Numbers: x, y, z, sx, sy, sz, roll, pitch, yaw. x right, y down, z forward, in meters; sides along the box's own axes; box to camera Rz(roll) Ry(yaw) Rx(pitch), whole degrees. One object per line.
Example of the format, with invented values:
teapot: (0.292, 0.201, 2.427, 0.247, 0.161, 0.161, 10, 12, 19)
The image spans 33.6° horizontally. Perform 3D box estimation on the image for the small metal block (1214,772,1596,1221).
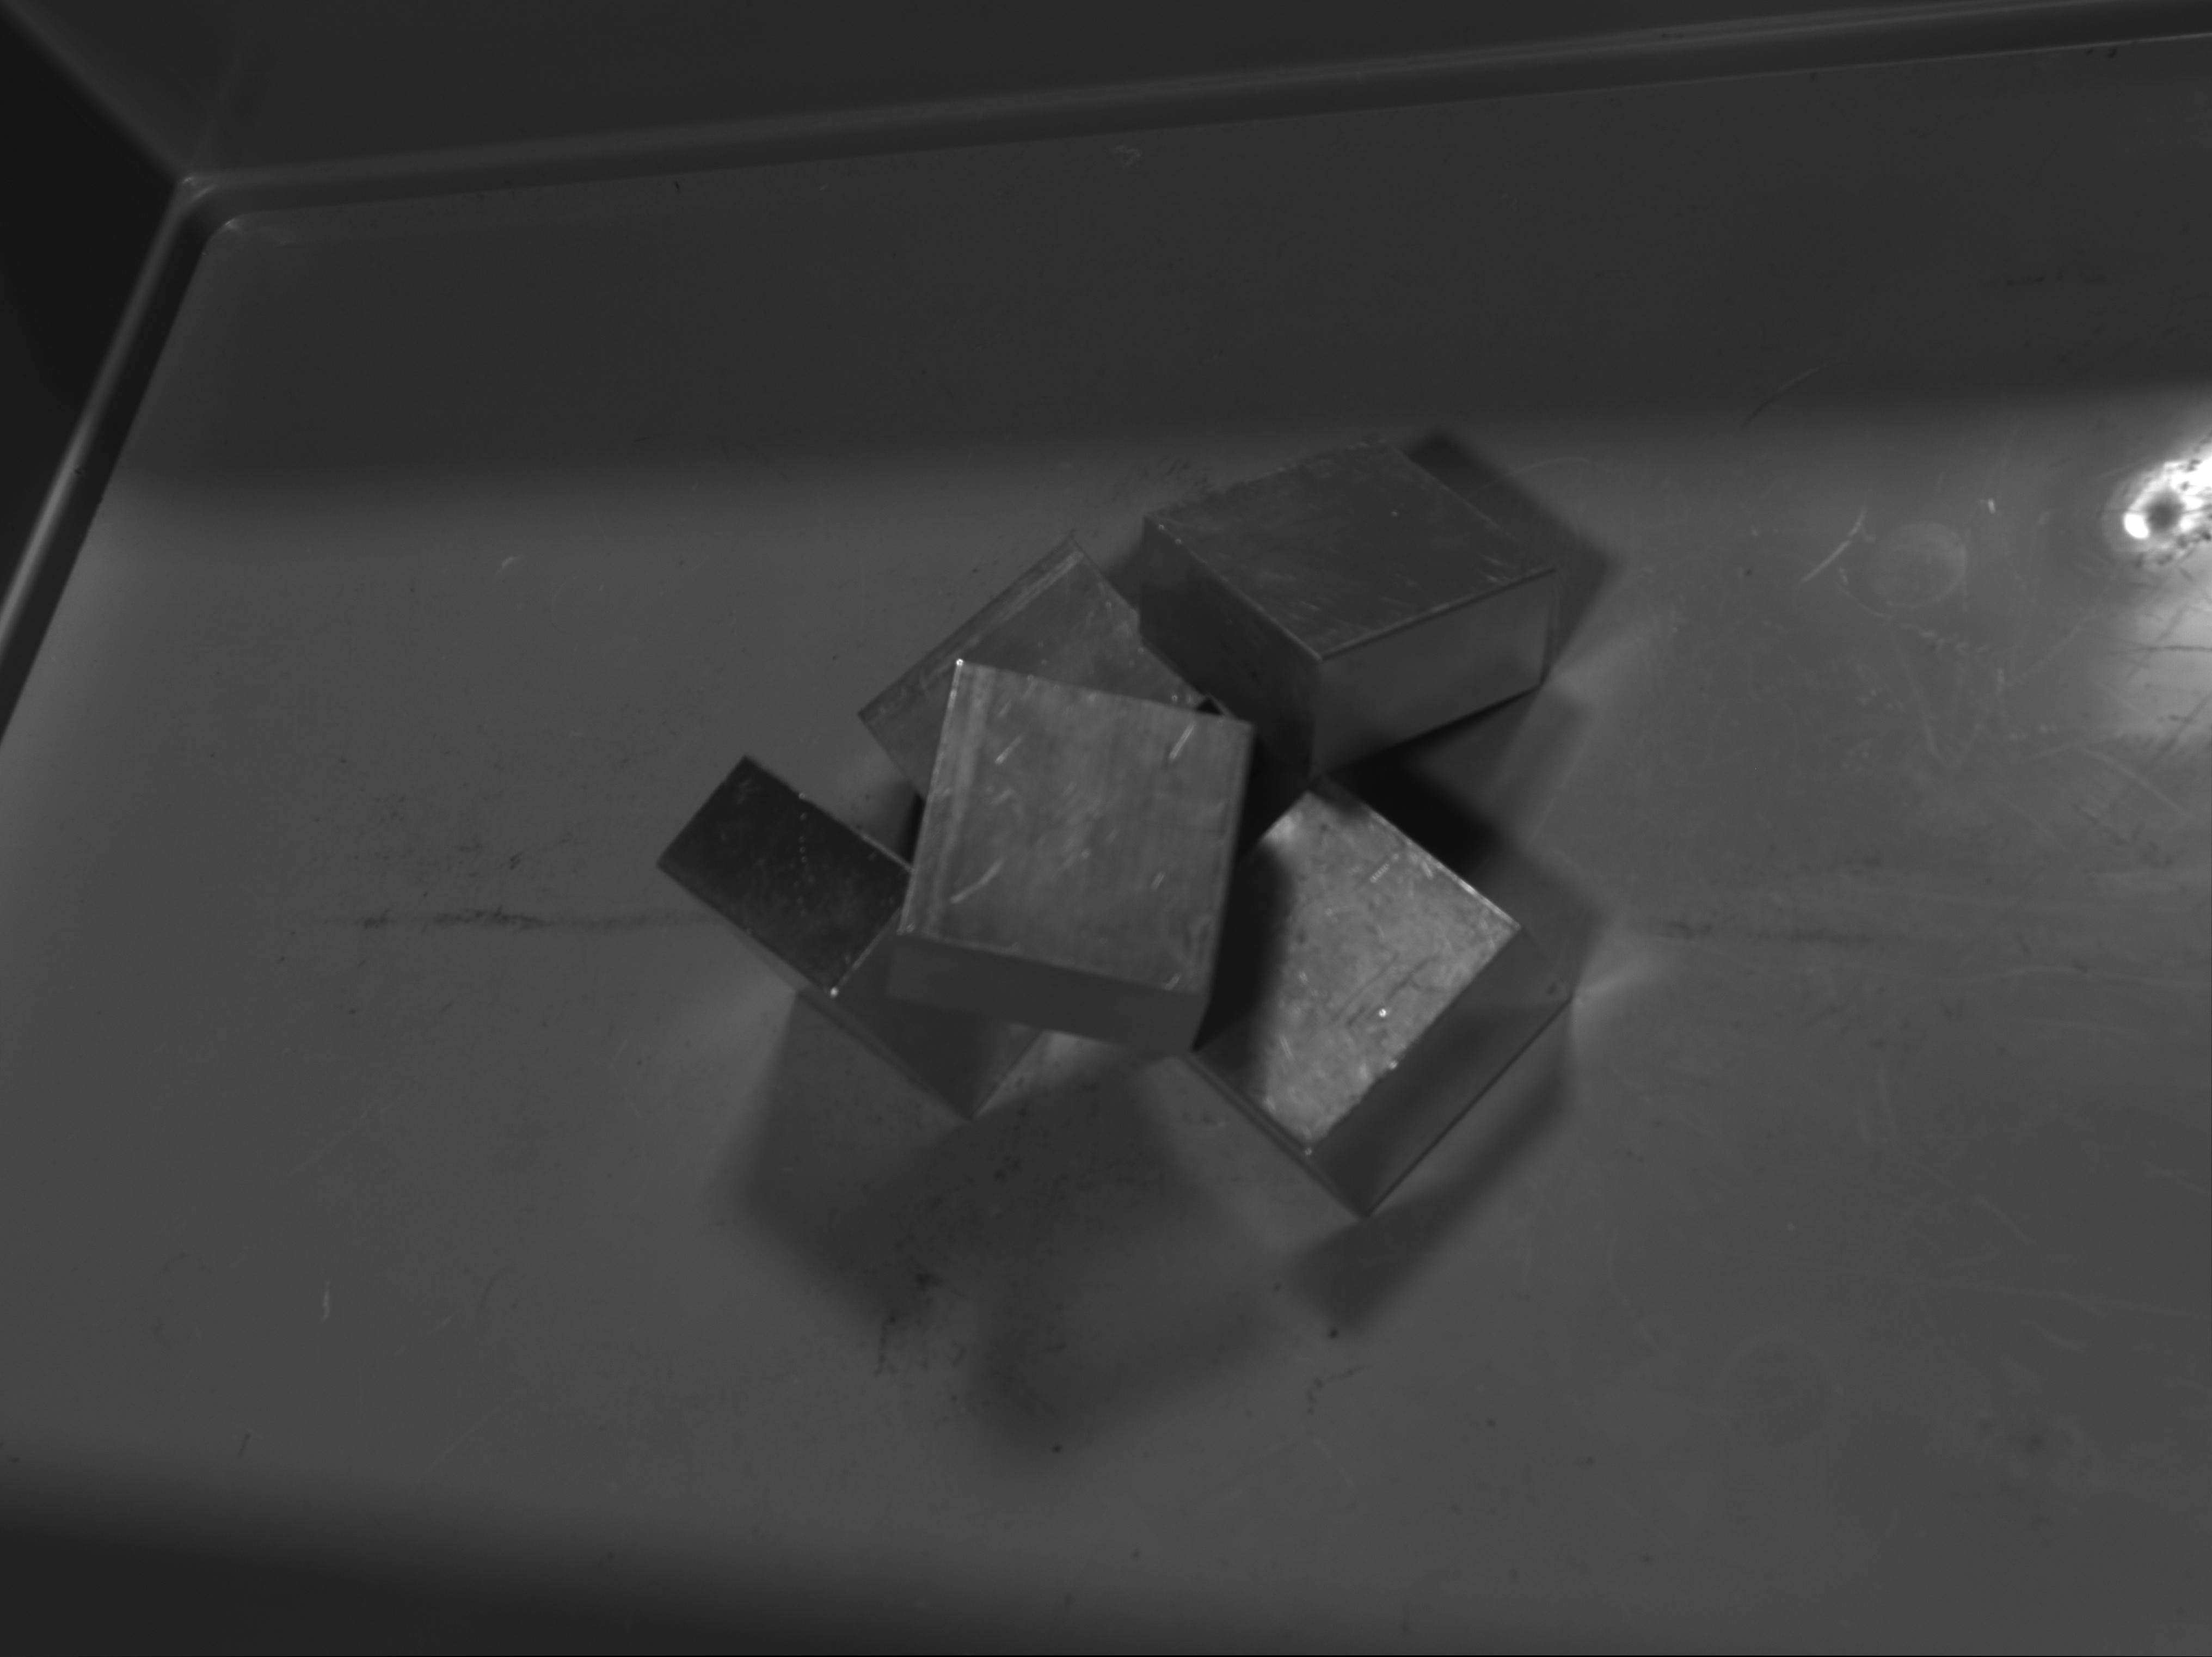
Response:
small metal block: (0.043, 0.027, 0.603, 0.050, 0.025, 0.050, -46, 51, -4)

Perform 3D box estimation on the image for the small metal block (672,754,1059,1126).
small metal block: (-0.040, 0.019, 0.635, 0.050, 0.050, 0.025, 33, 80, 38)

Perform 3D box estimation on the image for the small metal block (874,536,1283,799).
small metal block: (-0.005, -0.016, 0.654, 0.050, 0.025, 0.050, -40, 51, 1)

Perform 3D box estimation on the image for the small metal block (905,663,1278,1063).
small metal block: (-0.002, 0.006, 0.594, 0.050, 0.025, 0.050, 12, 63, -2)

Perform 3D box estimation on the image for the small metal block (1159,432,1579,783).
small metal block: (0.044, -0.039, 0.629, 0.050, 0.025, 0.050, -22, 45, -28)
